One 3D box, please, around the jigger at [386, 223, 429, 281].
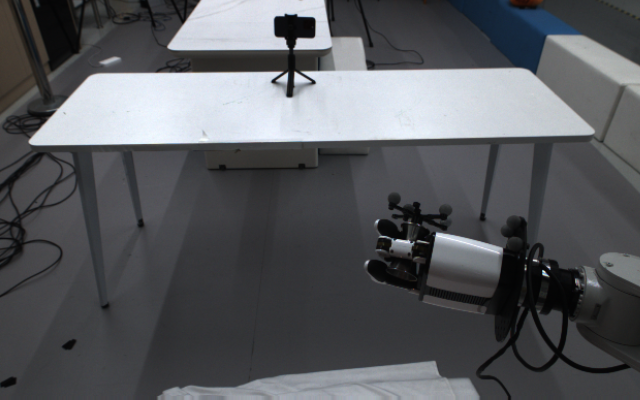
[{"bbox_3d":[0.121,0.068,0.644,0.043,0.043,0.071,13,69,15],"label":"jigger"}]
